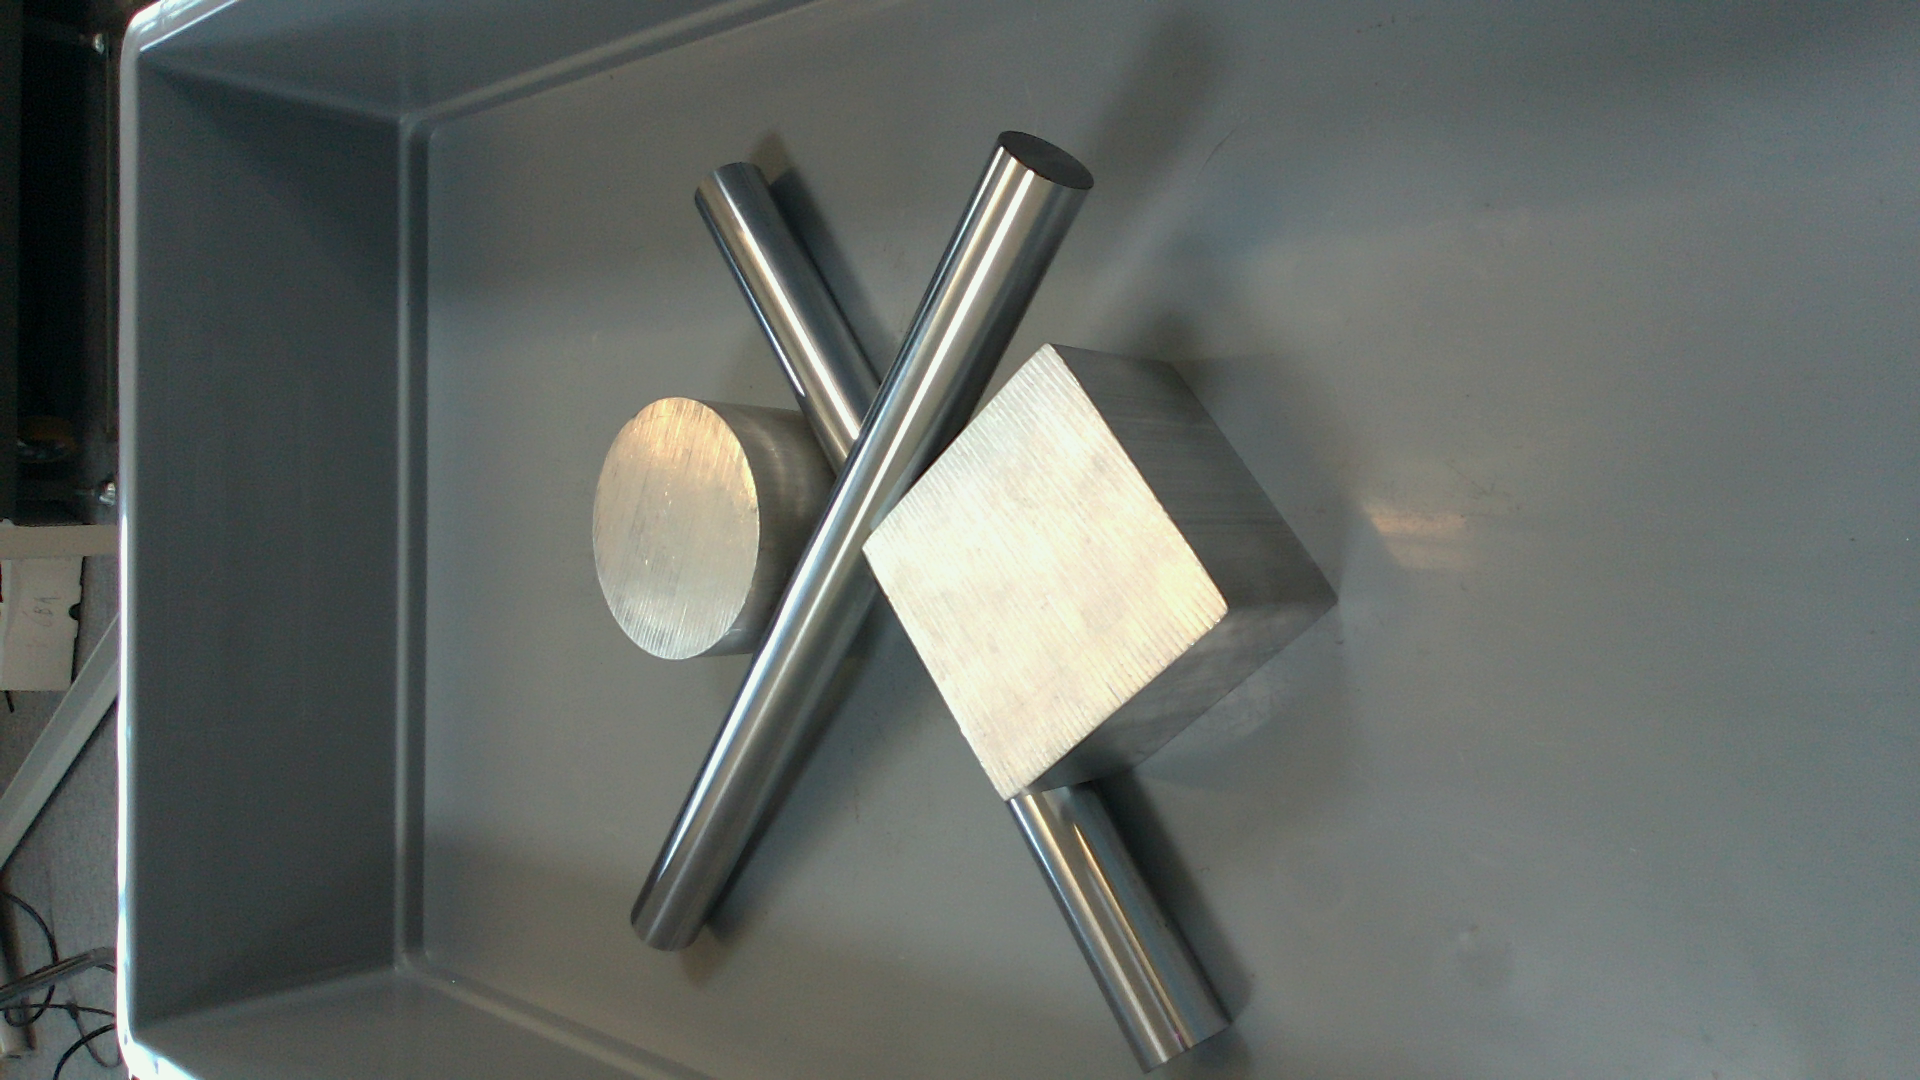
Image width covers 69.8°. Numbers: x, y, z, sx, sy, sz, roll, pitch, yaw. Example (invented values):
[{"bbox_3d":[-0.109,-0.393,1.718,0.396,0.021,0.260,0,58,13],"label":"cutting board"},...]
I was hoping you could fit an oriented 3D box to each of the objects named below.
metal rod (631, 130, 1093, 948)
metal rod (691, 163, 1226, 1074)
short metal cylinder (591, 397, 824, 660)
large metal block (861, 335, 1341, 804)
[{"bbox_3d":[-0.042,0.022,0.401,0.025,0.025,0.299,49,128,29],"label":"metal rod"},{"bbox_3d":[-0.011,0.006,0.401,0.025,0.025,0.300,-43,64,32],"label":"metal rod"},{"bbox_3d":[-0.073,-0.003,0.438,0.080,0.050,0.080,0,90,40],"label":"short metal cylinder"},{"bbox_3d":[0.033,0.008,0.348,0.080,0.050,0.080,-46,62,30],"label":"large metal block"}]
